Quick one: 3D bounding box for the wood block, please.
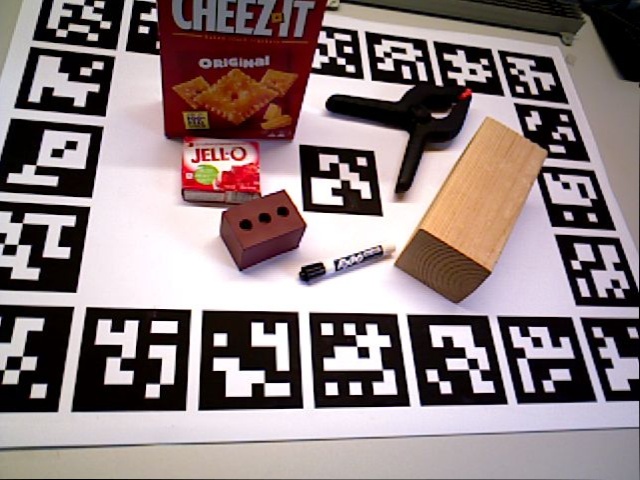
[{"bbox_3d":[0.183,-0.033,0.637,0.090,0.093,0.202,31,58,7],"label":"wood block"}]

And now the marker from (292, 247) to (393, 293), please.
[{"bbox_3d":[0.025,0.033,0.600,0.119,0.020,0.019,-17,70,-21],"label":"marker"}]

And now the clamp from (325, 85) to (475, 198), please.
[{"bbox_3d":[0.129,-0.156,0.714,0.199,0.037,0.165,-29,73,-24],"label":"clamp"}]

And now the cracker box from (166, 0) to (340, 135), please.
[{"bbox_3d":[-0.081,-0.207,0.581,0.162,0.218,0.071,0,61,-16],"label":"cracker box"}]

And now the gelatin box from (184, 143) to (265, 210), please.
[{"bbox_3d":[-0.109,-0.072,0.621,0.088,0.031,0.072,1,65,-13],"label":"gelatin box"}]

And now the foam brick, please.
[{"bbox_3d":[-0.060,-0.004,0.582,0.076,0.052,0.052,-22,72,-23],"label":"foam brick"}]
